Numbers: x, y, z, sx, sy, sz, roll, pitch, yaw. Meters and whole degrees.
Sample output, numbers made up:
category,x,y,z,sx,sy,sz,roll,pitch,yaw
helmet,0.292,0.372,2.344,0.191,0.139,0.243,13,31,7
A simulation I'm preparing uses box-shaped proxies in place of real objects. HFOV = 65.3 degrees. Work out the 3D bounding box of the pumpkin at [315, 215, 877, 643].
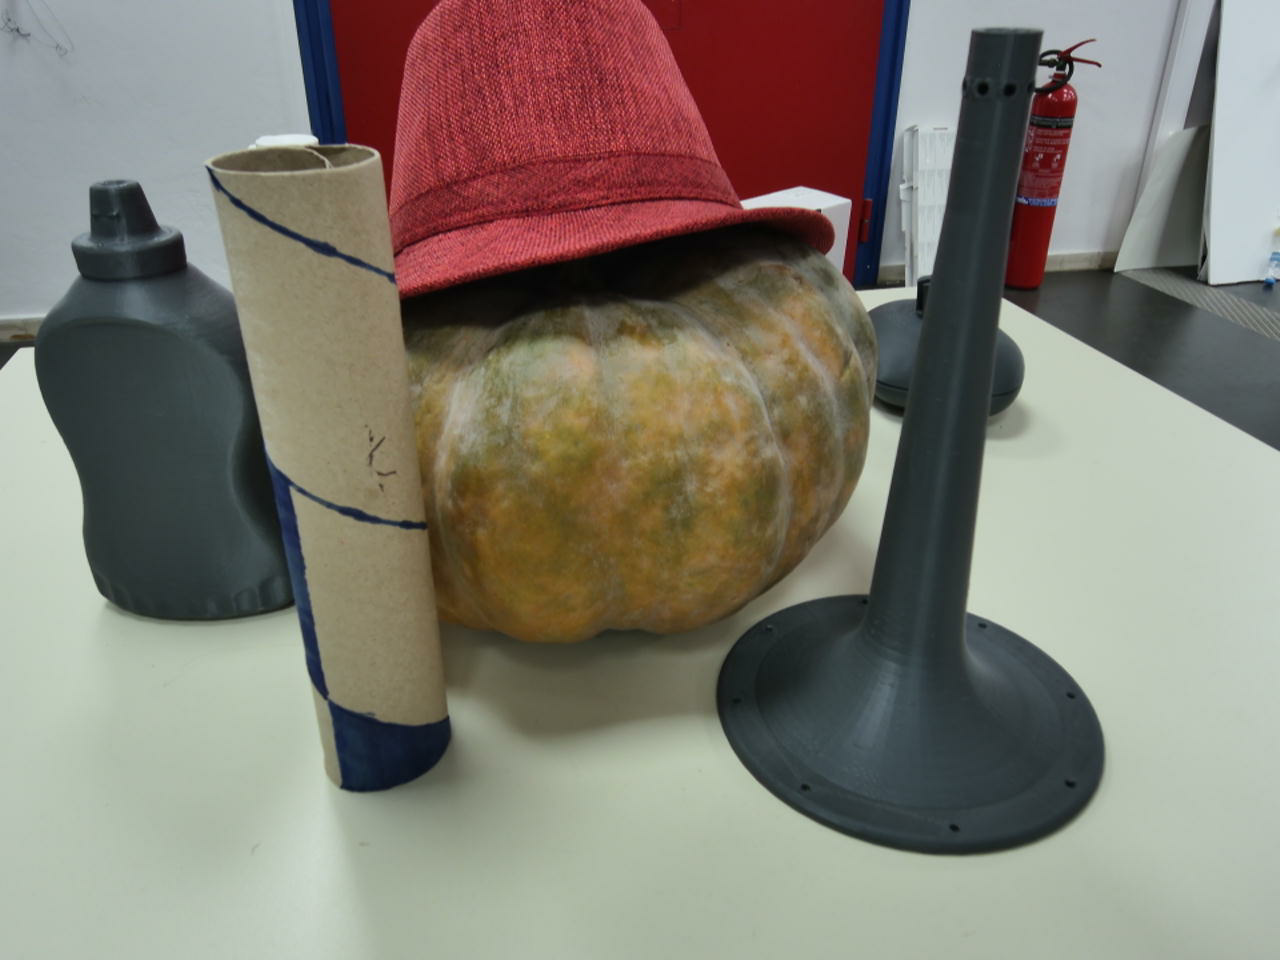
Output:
category,x,y,z,sx,sy,sz,roll,pitch,yaw
pumpkin,-0.023,-0.030,0.460,0.252,0.169,0.251,0,26,0
